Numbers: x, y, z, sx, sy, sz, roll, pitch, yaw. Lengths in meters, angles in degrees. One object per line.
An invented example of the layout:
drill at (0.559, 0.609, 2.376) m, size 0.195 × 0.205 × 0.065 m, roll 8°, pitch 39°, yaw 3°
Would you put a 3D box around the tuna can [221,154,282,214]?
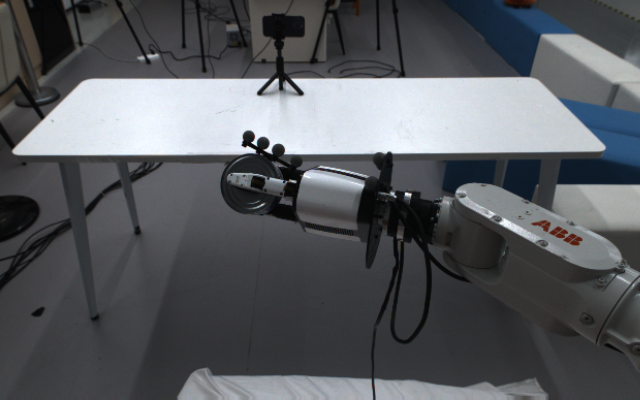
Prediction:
tuna can at (-0.094, -0.021, 0.686) m, size 0.085 × 0.085 × 0.034 m, roll 10°, pitch -4°, yaw 11°
